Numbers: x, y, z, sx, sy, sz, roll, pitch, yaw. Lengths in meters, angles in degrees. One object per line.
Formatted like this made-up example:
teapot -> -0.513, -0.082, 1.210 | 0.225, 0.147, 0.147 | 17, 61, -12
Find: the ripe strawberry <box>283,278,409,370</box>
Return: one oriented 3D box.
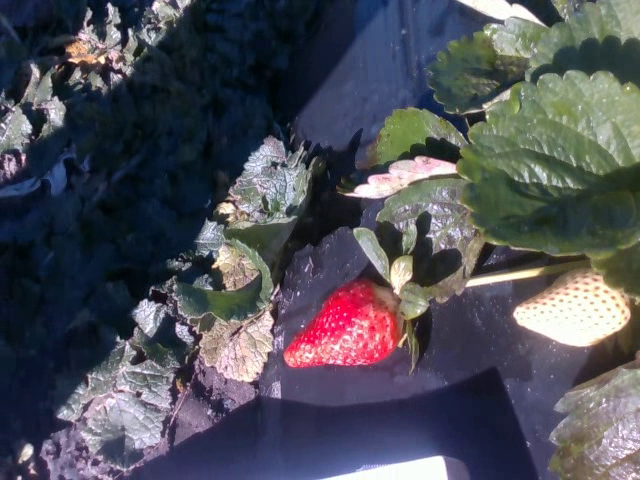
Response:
ripe strawberry -> 0.009, 0.042, 0.276 | 0.069, 0.048, 0.040 | -35, -43, 13
